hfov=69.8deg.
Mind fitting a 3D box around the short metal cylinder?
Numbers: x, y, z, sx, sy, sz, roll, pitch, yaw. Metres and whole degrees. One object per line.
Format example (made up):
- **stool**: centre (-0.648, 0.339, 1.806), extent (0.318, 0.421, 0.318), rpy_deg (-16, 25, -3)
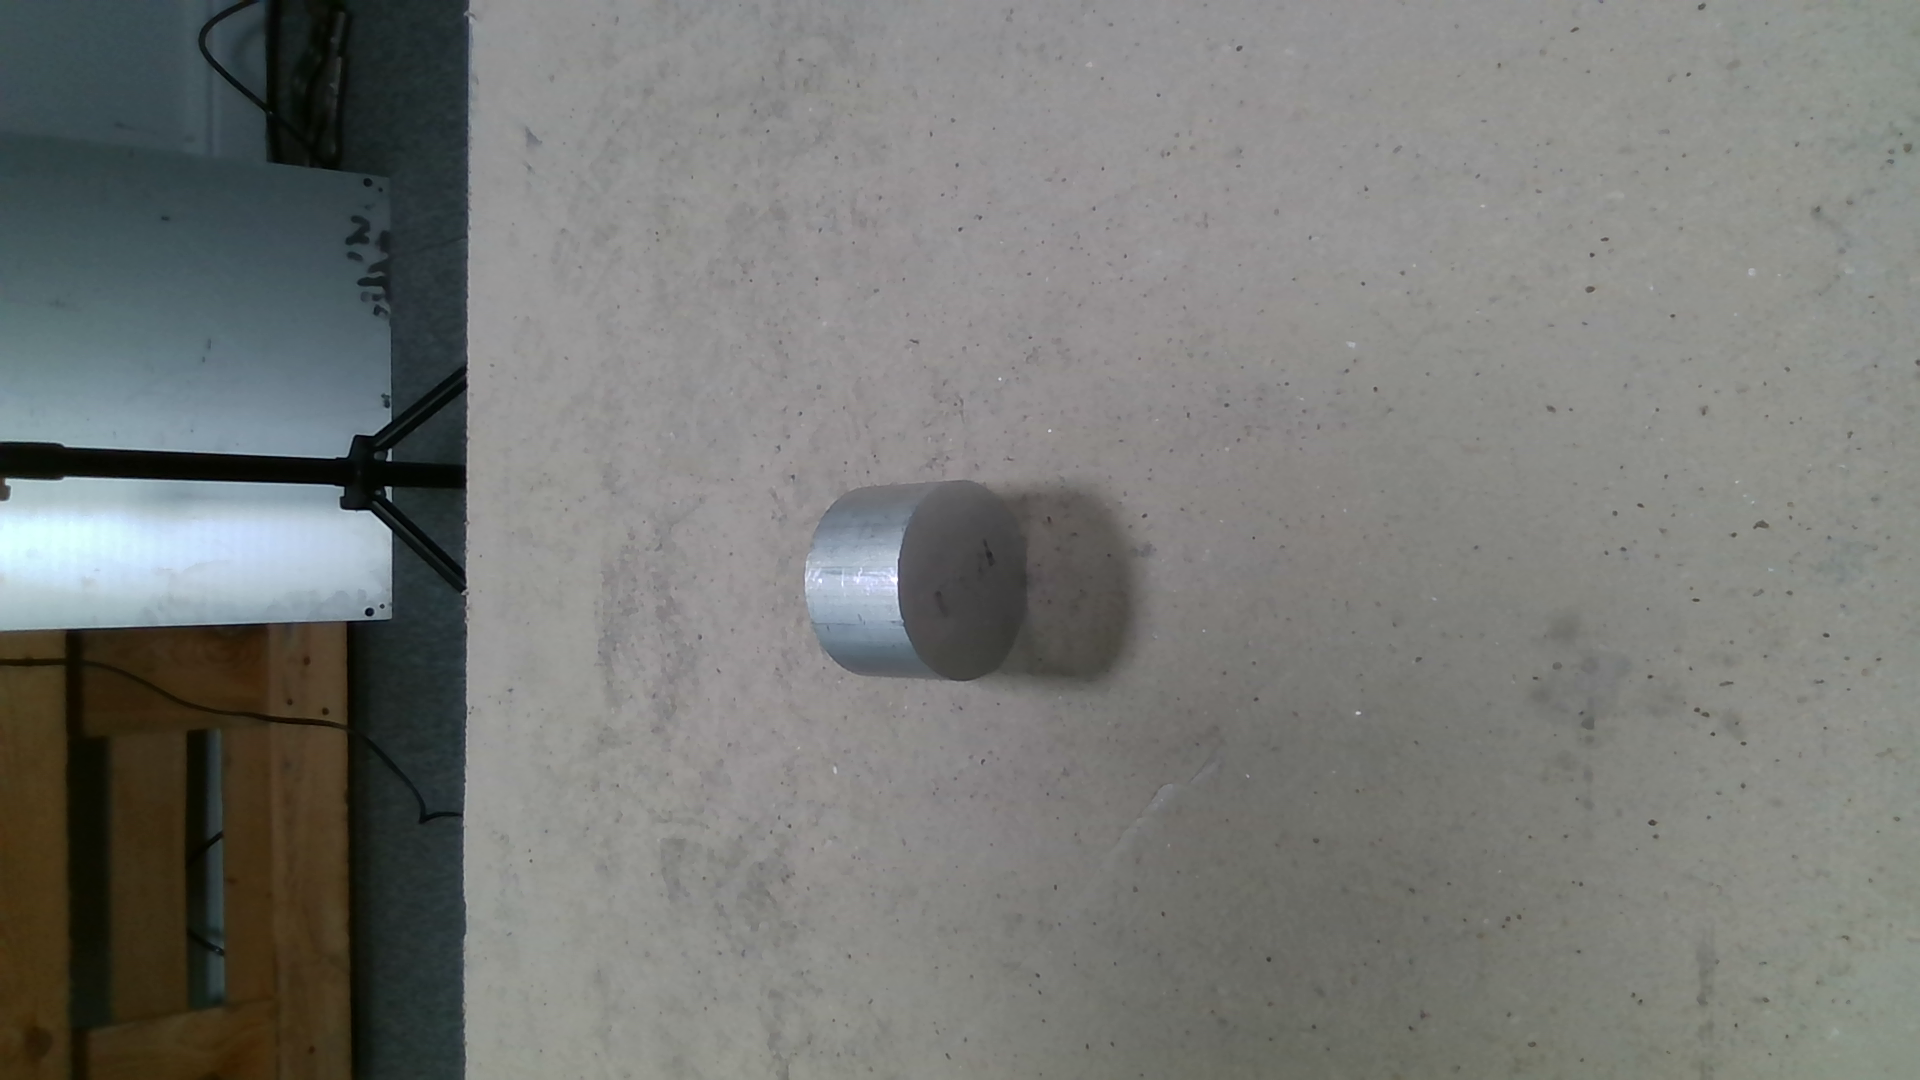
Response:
- **short metal cylinder**: centre (-0.017, 0.017, 0.561), extent (0.050, 0.080, 0.080), rpy_deg (-1, 90, 40)
